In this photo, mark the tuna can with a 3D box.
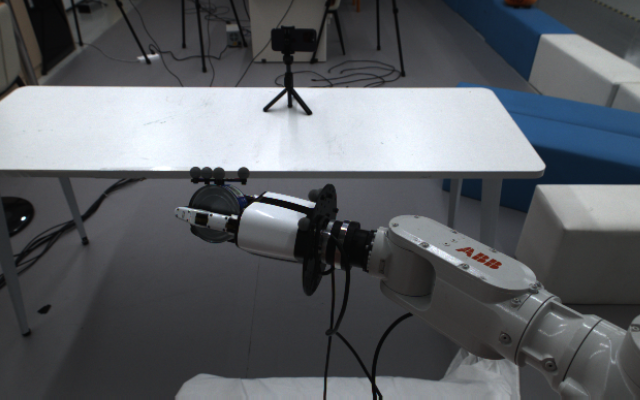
[{"bbox_3d":[-0.146,0.020,0.708,0.085,0.085,0.034,15,9,18],"label":"tuna can"}]
